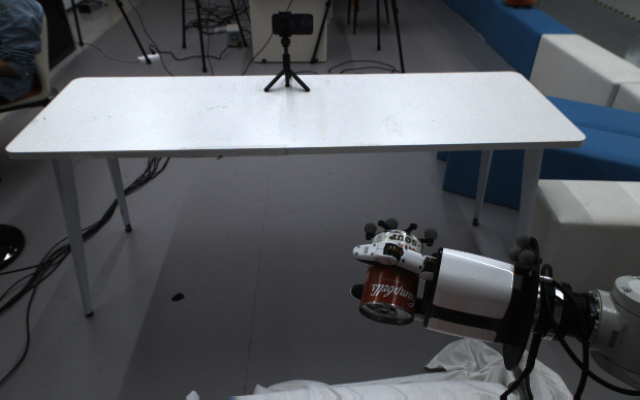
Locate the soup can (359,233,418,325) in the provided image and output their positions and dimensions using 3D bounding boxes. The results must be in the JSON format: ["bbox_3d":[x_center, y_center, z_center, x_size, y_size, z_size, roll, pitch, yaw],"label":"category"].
[{"bbox_3d":[0.093,0.096,0.607,0.067,0.067,0.101,9,58,10],"label":"soup can"}]
